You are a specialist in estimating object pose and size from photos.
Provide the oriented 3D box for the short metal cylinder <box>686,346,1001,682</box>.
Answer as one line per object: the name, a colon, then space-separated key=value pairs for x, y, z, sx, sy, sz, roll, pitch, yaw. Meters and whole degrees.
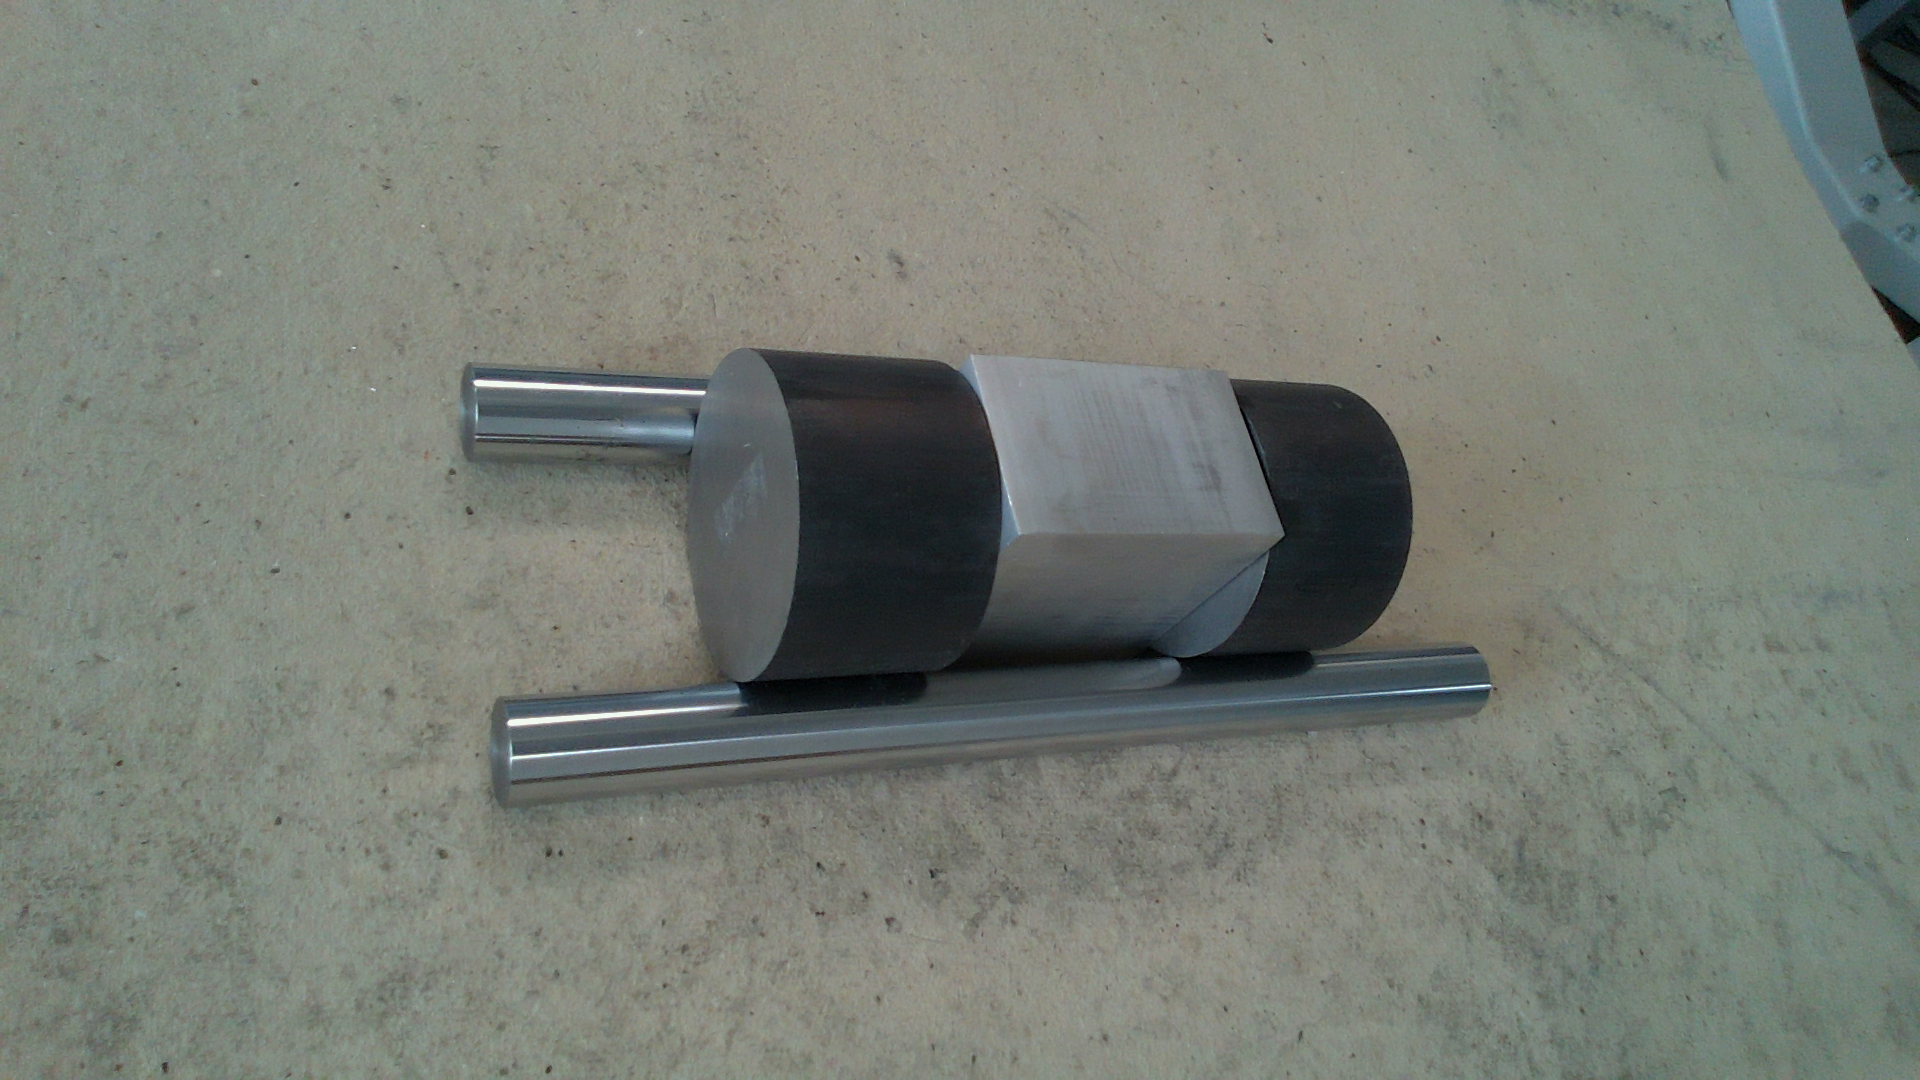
short metal cylinder: x=-0.031 y=-0.006 z=0.341 sx=0.050 sy=0.080 sz=0.080 roll=-1 pitch=62 yaw=-28

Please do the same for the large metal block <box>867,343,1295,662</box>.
large metal block: x=0.027 y=-0.006 z=0.370 sx=0.080 sy=0.080 sz=0.050 roll=0 pitch=62 yaw=-28

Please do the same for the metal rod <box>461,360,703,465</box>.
metal rod: x=0.009 y=-0.034 z=0.416 sx=0.301 sy=0.025 sz=0.025 roll=0 pitch=62 yaw=-29

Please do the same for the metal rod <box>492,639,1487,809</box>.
metal rod: x=0.030 y=0.046 z=0.378 sx=0.301 sy=0.025 sz=0.025 roll=0 pitch=62 yaw=-29

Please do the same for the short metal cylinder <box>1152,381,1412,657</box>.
short metal cylinder: x=0.084 y=-0.007 z=0.403 sx=0.050 sy=0.080 sz=0.080 roll=-1 pitch=62 yaw=-28
